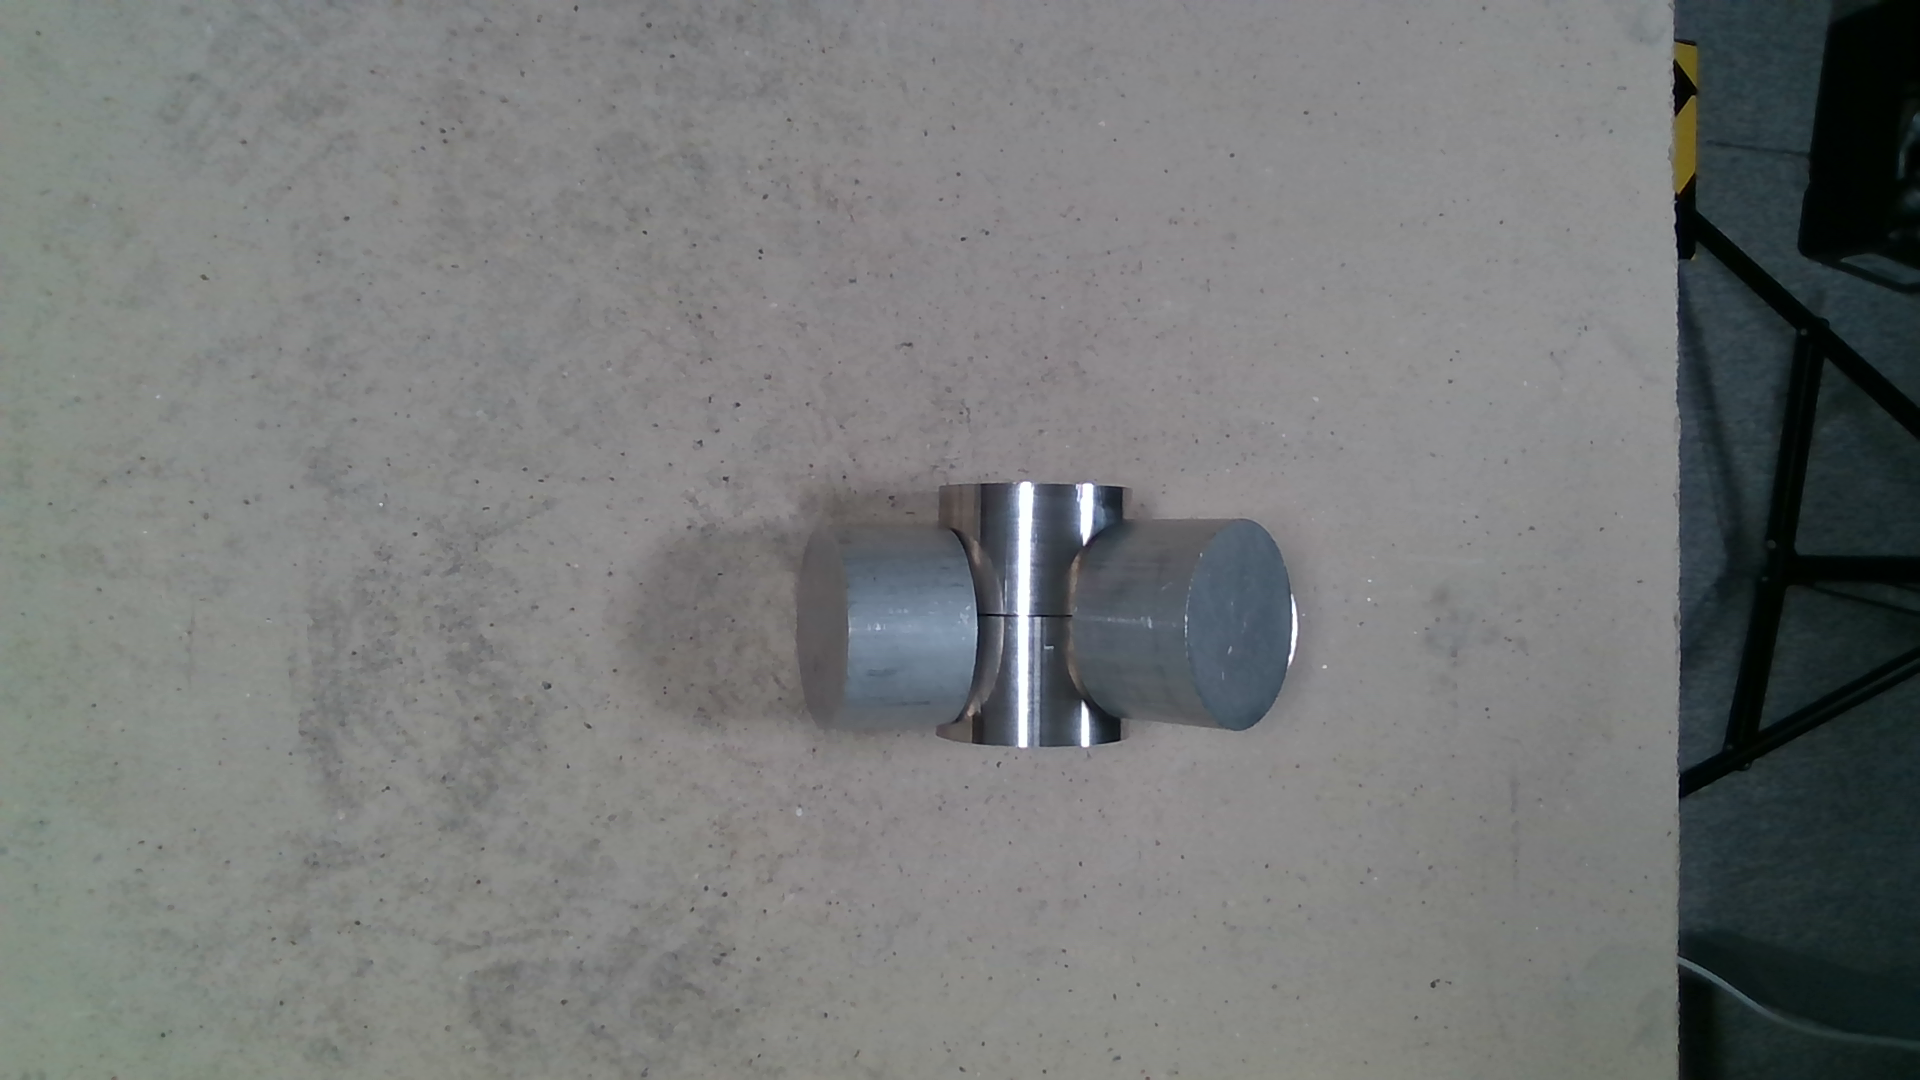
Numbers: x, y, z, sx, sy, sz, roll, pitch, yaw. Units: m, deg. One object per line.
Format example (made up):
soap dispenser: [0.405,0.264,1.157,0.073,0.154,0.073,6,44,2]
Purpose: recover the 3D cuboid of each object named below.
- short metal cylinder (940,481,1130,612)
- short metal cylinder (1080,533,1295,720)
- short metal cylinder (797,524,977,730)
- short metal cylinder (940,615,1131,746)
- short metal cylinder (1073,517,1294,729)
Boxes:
short metal cylinder: [0.030,0.003,0.569,0.080,0.080,0.050,1,90,-20]
short metal cylinder: [0.100,0.037,0.611,0.080,0.050,0.080,0,90,-20]
short metal cylinder: [-0.031,0.034,0.546,0.050,0.080,0.080,0,90,-21]
short metal cylinder: [0.030,0.055,0.568,0.080,0.080,0.050,0,89,-20]
short metal cylinder: [0.088,0.031,0.535,0.080,0.050,0.080,-1,91,-49]
